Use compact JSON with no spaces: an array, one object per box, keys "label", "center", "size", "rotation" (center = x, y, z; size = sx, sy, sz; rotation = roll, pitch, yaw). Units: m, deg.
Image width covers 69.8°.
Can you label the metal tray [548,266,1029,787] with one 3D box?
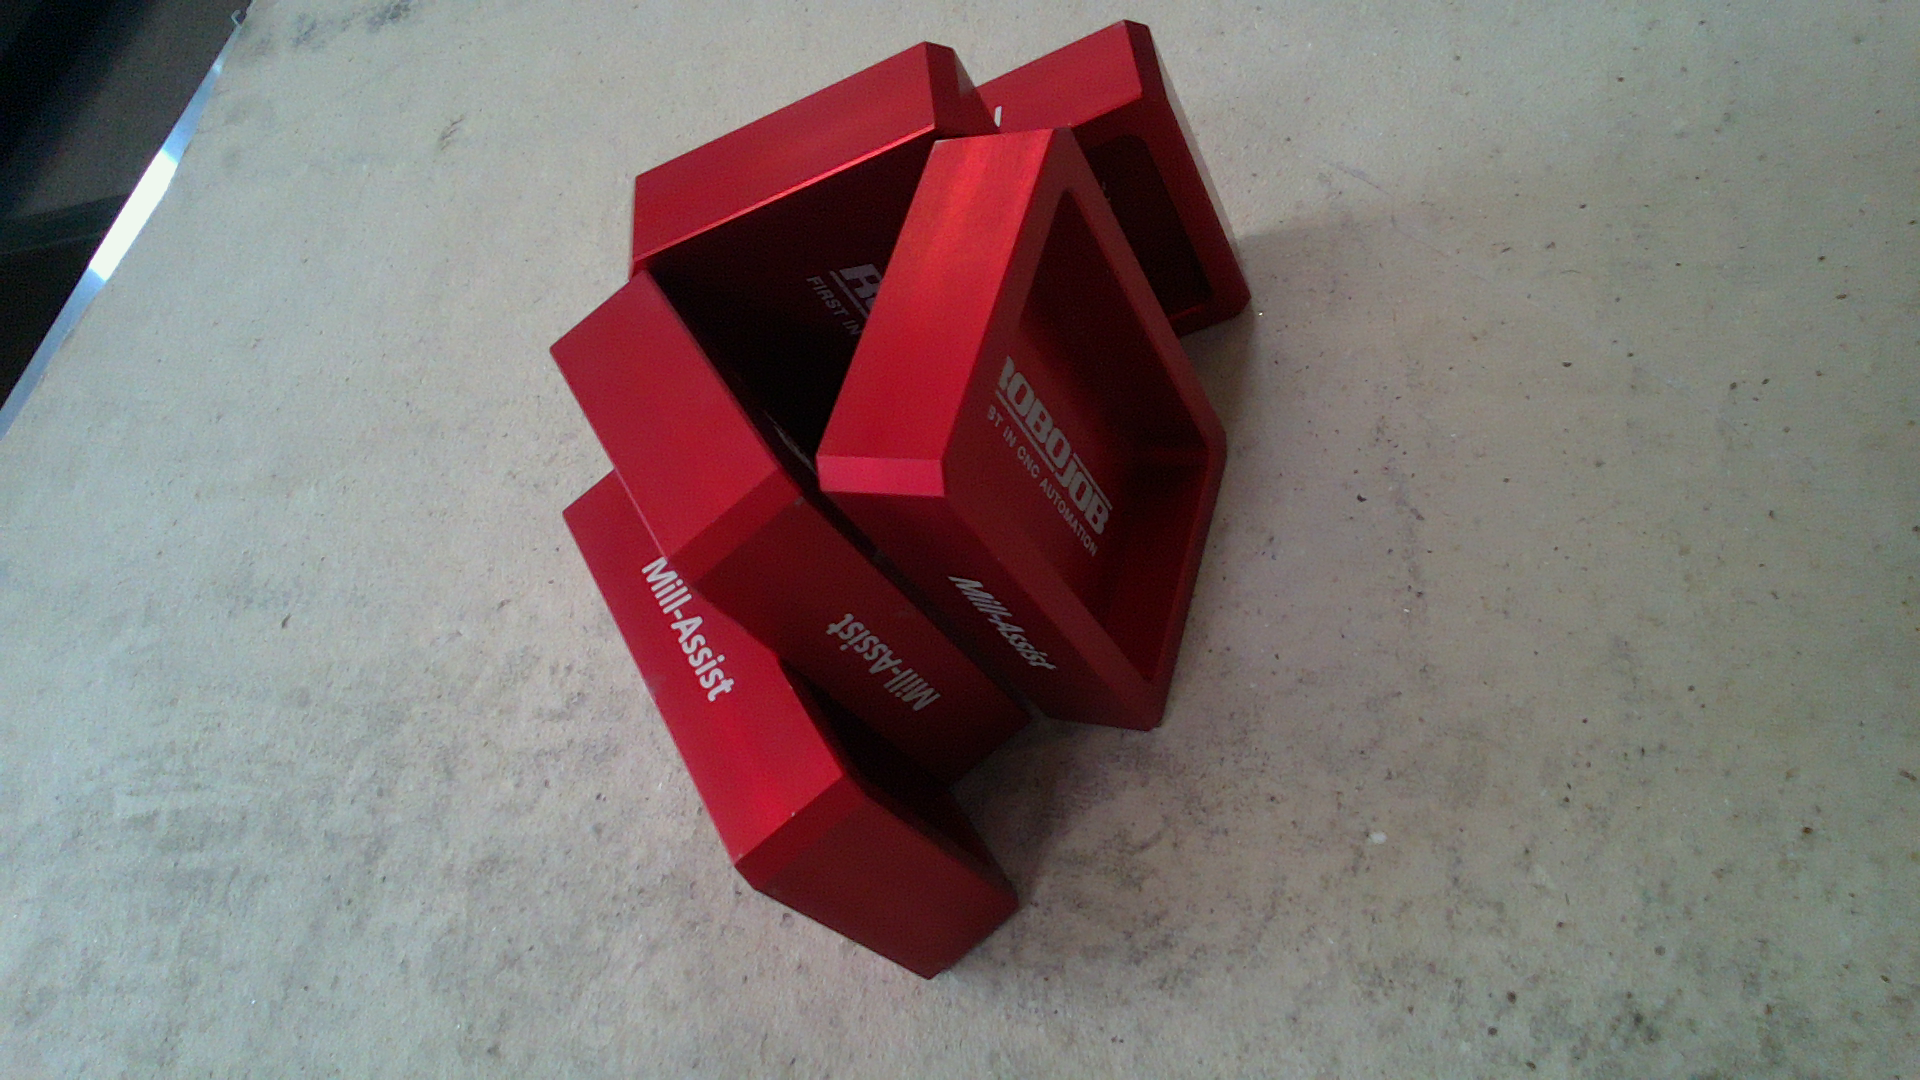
[{"label":"metal tray","center":[-0.039,0.000,0.346],"size":[0.030,0.130,0.090],"rotation":[-39,51,1]}]

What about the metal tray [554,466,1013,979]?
[{"label":"metal tray","center":[-0.046,0.041,0.350],"size":[0.030,0.090,0.130],"rotation":[-40,51,2]}]

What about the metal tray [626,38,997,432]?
[{"label":"metal tray","center":[-0.016,-0.061,0.371],"size":[0.090,0.130,0.030],"rotation":[-19,54,18]}]

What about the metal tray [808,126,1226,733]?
[{"label":"metal tray","center":[0.022,-0.020,0.326],"size":[0.030,0.130,0.090],"rotation":[5,64,31]}]

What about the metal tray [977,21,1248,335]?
[{"label":"metal tray","center":[0.007,-0.082,0.398],"size":[0.130,0.090,0.030],"rotation":[-18,54,17]}]
